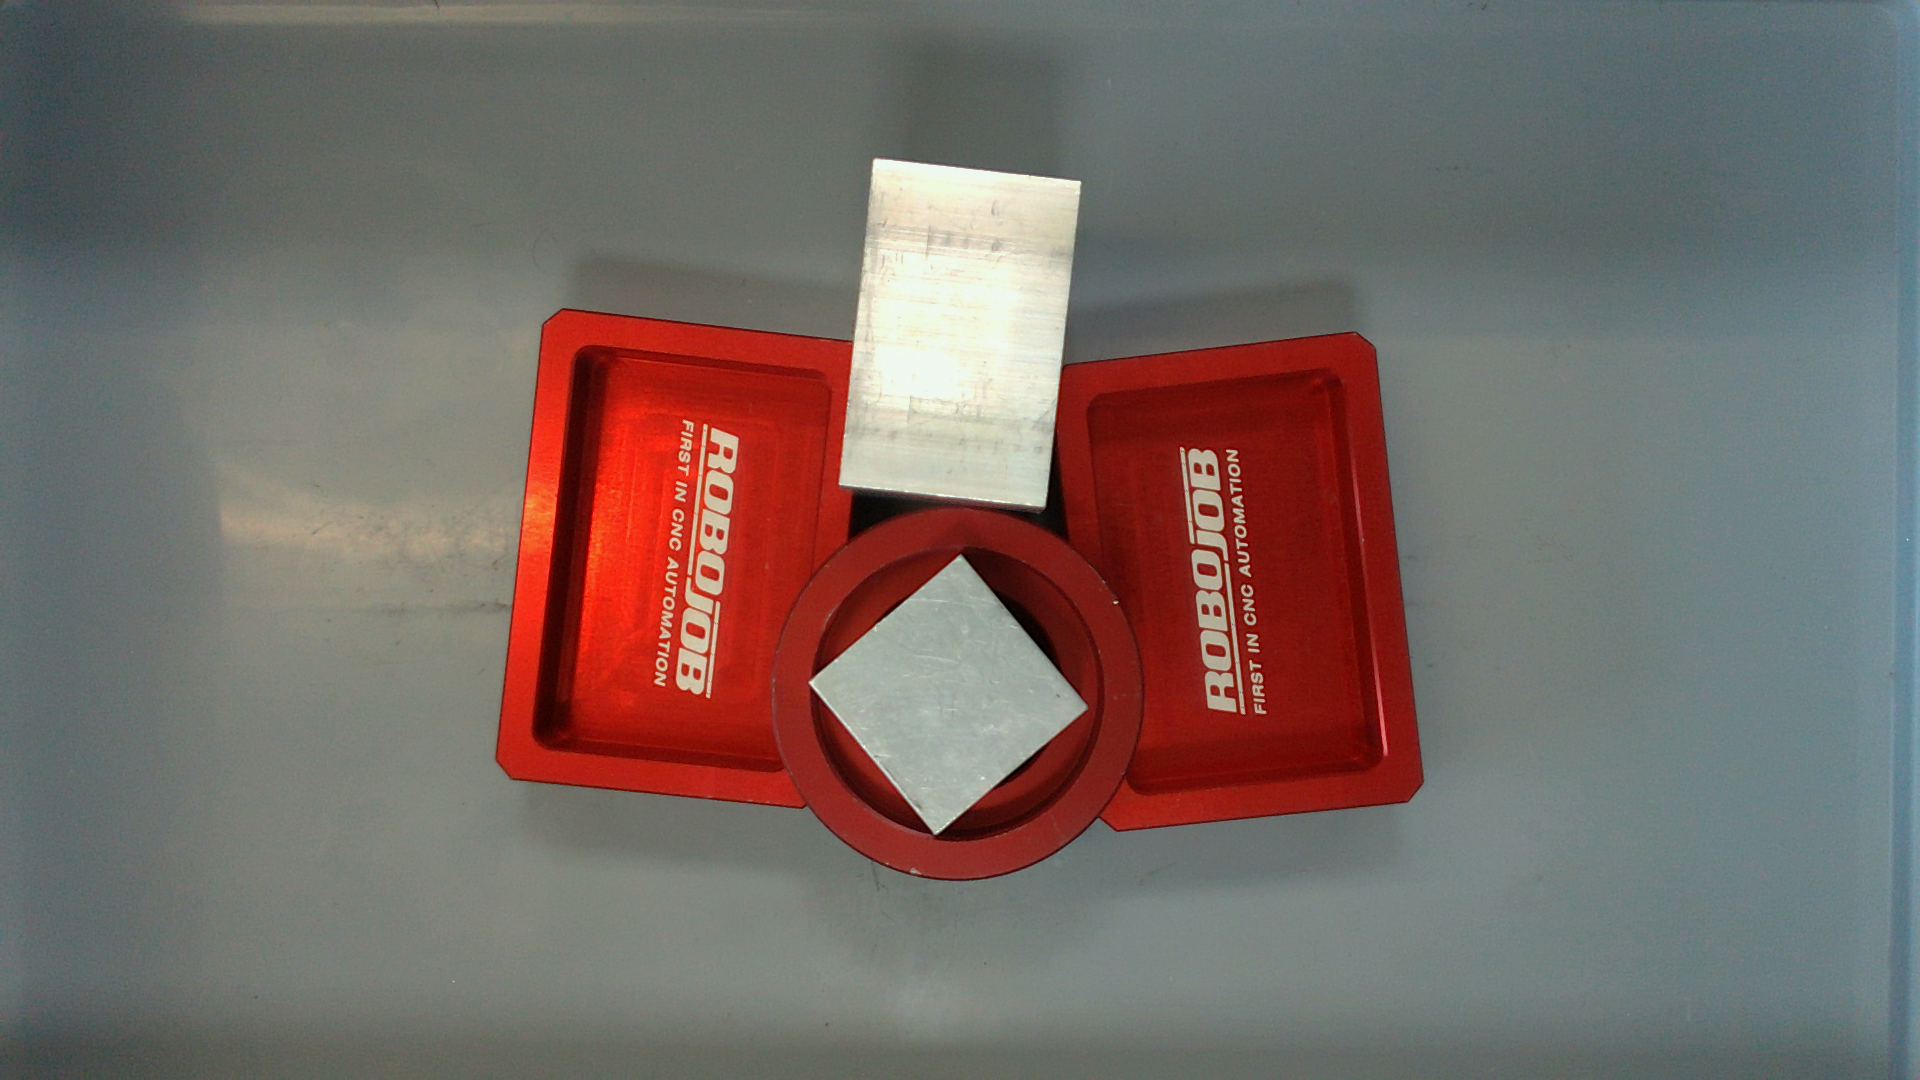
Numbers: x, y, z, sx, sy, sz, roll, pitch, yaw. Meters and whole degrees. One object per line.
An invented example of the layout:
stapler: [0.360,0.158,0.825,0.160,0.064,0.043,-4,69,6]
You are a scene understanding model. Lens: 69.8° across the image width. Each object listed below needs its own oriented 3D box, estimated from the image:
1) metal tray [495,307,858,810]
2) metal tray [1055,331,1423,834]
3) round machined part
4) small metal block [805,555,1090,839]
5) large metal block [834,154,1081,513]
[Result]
metal tray: [-0.076,0.005,0.391,0.090,0.030,0.130,6,90,0]
metal tray: [0.076,0.012,0.392,0.090,0.030,0.130,-7,90,0]
round machined part: [0.000,0.040,0.376,0.098,0.042,0.098,0,90,0]
small metal block: [-0.003,0.039,0.352,0.050,0.025,0.050,-39,90,0]
large metal block: [0.000,-0.049,0.366,0.050,0.080,0.080,6,90,0]
